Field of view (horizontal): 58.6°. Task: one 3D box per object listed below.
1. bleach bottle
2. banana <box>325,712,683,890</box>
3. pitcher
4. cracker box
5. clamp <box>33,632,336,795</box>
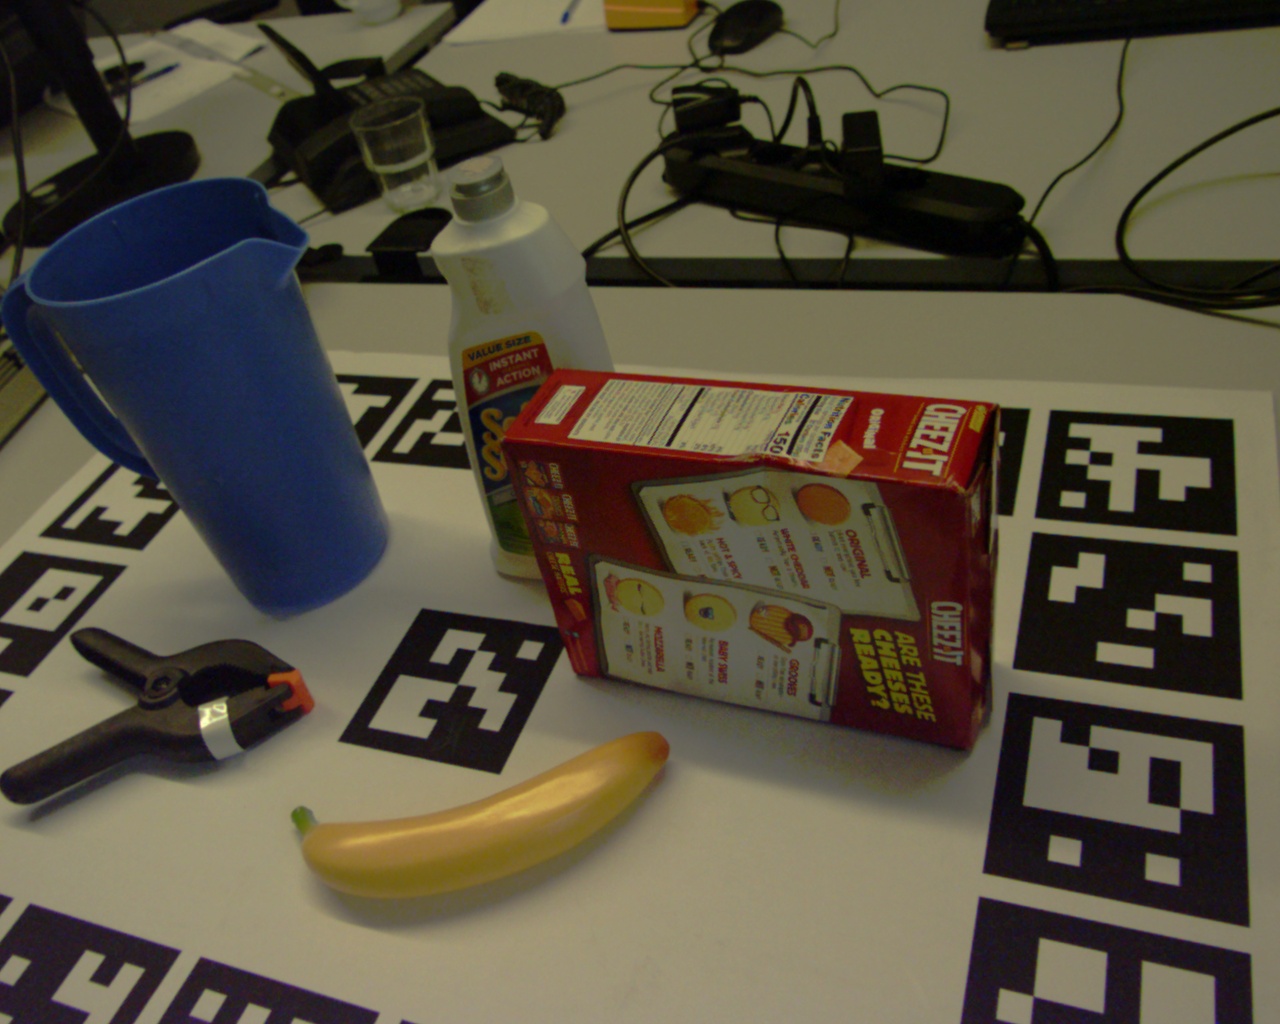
[{"bbox_3d":[-0.065,-0.064,0.673,0.104,0.249,0.067,5,41,22],"label":"bleach bottle"},{"bbox_3d":[-0.067,0.152,0.591,0.197,0.038,0.075,-18,38,-4],"label":"banana"},{"bbox_3d":[-0.256,-0.067,0.705,0.189,0.241,0.134,-6,38,6],"label":"pitcher"},{"bbox_3d":[0.060,0.017,0.580,0.216,0.163,0.071,5,39,24],"label":"cracker box"},{"bbox_3d":[-0.266,0.114,0.687,0.166,0.036,0.122,-5,38,8],"label":"clamp"}]
